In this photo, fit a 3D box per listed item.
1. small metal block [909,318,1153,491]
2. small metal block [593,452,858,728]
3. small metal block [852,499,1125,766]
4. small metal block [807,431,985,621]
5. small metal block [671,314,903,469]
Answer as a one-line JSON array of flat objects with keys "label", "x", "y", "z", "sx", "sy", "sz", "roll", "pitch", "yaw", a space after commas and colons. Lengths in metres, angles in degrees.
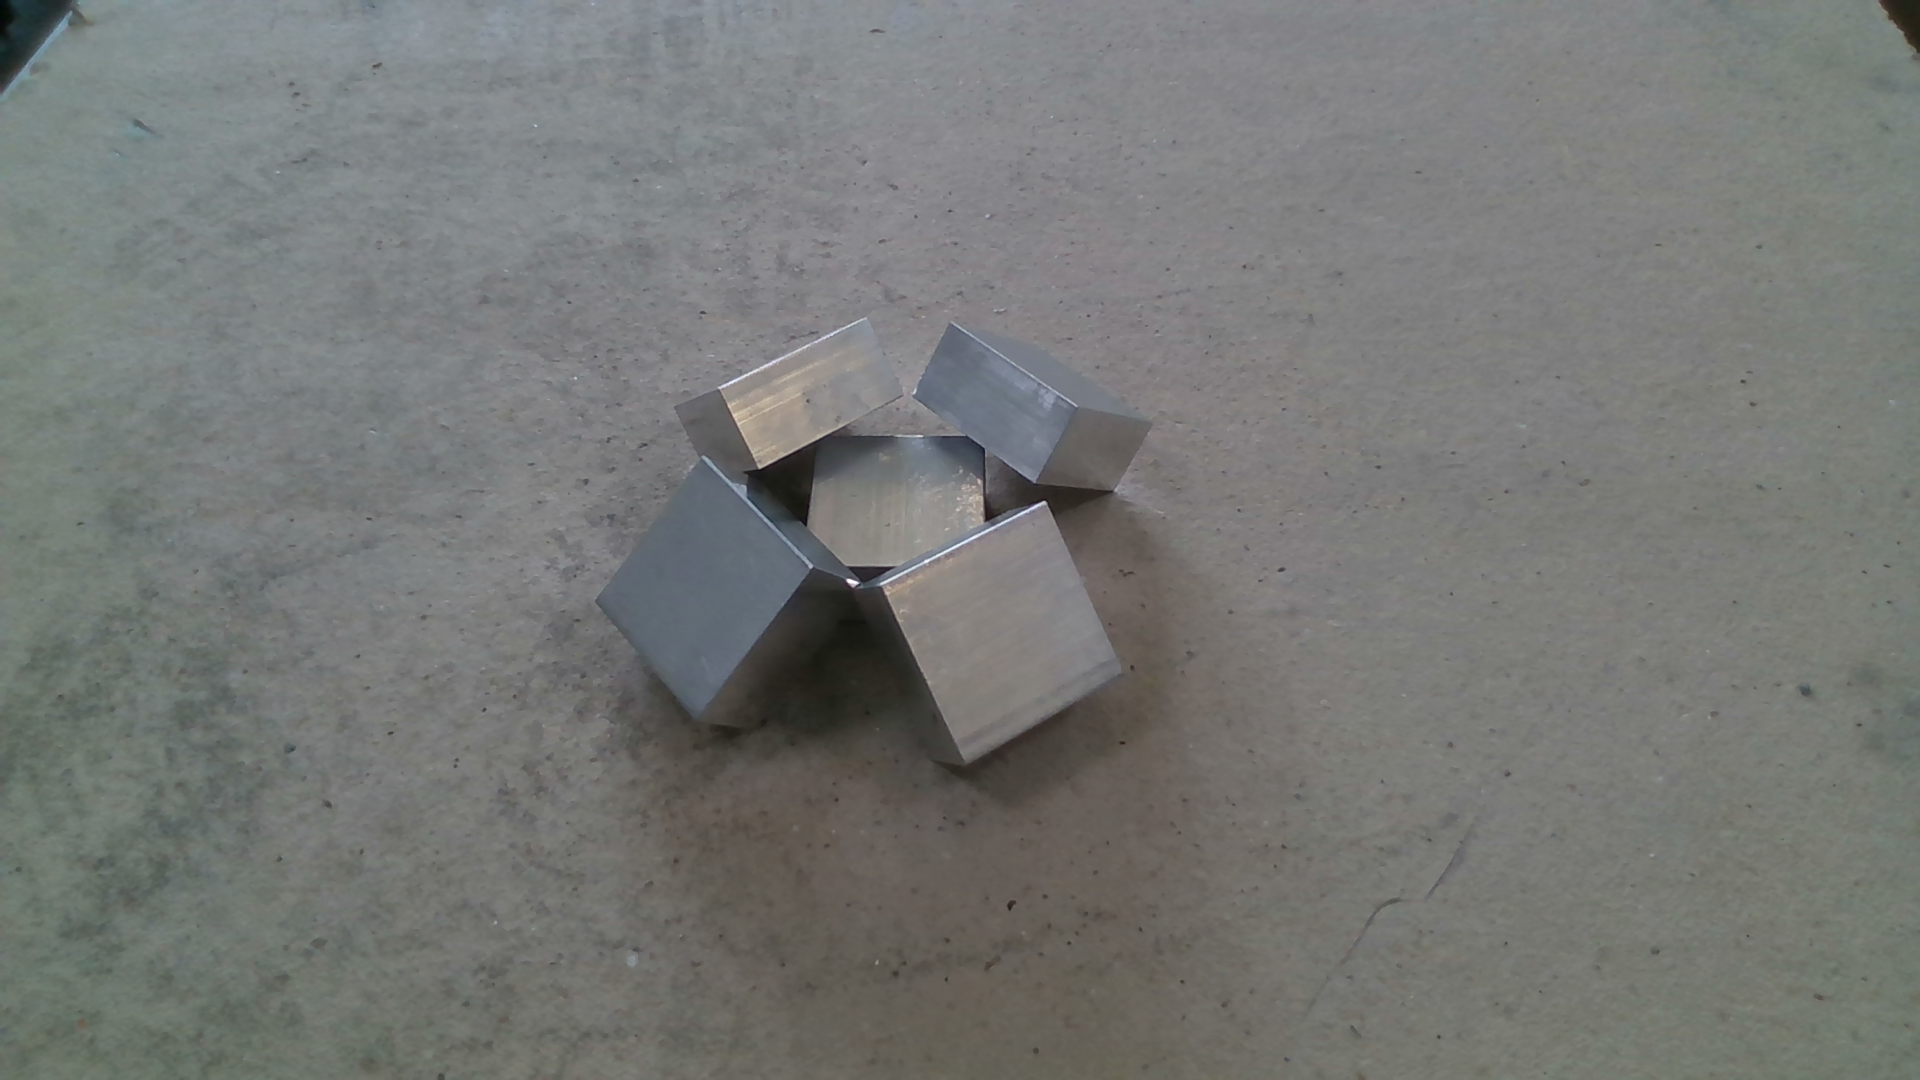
[{"label": "small metal block", "x": 0.022, "y": -0.039, "z": 0.410, "sx": 0.050, "sy": 0.025, "sz": 0.050, "roll": 38, "pitch": 18, "yaw": 27}, {"label": "small metal block", "x": -0.062, "y": 0.013, "z": 0.366, "sx": 0.050, "sy": 0.025, "sz": 0.050, "roll": 42, "pitch": 99, "yaw": 29}, {"label": "small metal block", "x": 0.007, "y": 0.024, "z": 0.358, "sx": 0.050, "sy": 0.025, "sz": 0.050, "roll": -27, "pitch": 96, "yaw": -20}, {"label": "small metal block", "x": -0.018, "y": -0.004, "z": 0.397, "sx": 0.050, "sy": 0.025, "sz": 0.050, "roll": 0, "pitch": 52, "yaw": 0}, {"label": "small metal block", "x": -0.053, "y": -0.042, "z": 0.412, "sx": 0.050, "sy": 0.025, "sz": 0.050, "roll": -30, "pitch": 12, "yaw": -23}]
